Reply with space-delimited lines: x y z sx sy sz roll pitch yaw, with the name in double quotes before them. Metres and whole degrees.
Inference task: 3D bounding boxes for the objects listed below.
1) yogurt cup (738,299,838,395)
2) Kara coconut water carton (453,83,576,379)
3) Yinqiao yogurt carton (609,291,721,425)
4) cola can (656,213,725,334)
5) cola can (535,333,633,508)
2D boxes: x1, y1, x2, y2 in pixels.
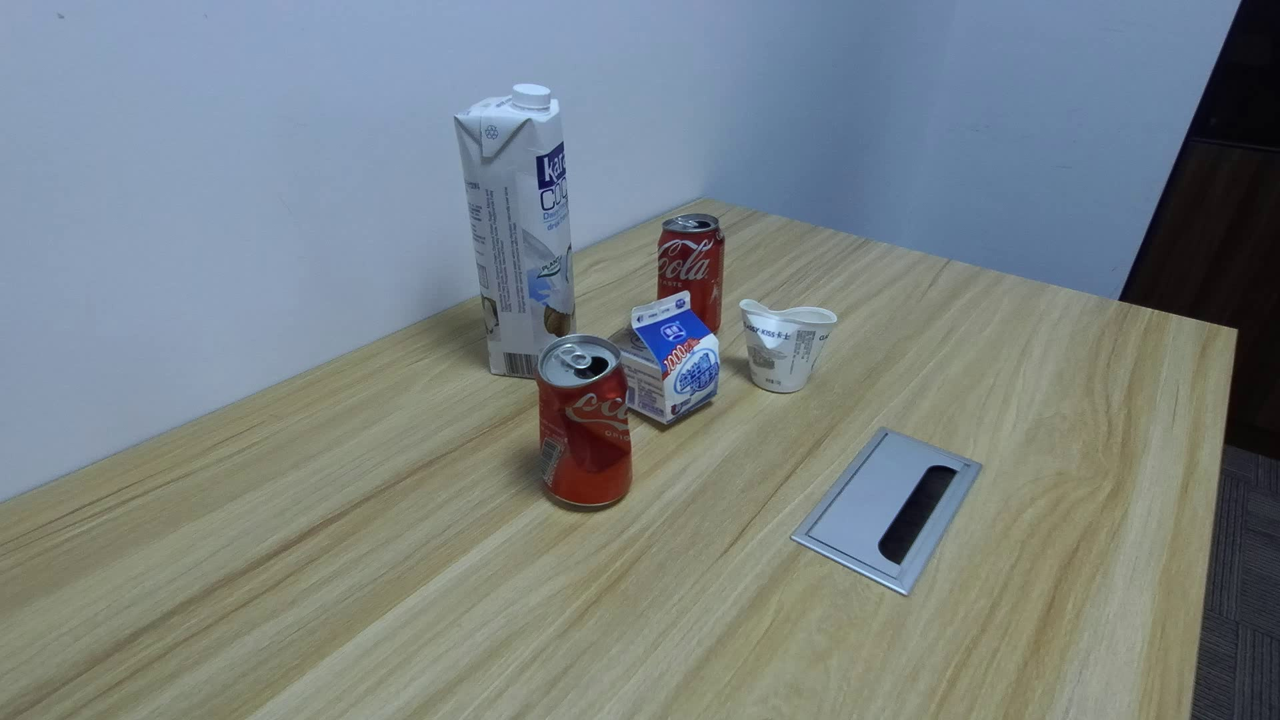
"yogurt cup" 0.126 -0.014 0.623 0.075 0.071 0.053 -4 31 -8
"Kara coconut water carton" -0.100 -0.103 0.602 0.075 0.245 0.077 6 32 12
"Yinqiao yogurt carton" 0.022 -0.007 0.585 0.075 0.097 0.080 -26 33 -37
"cola can" 0.049 -0.079 0.689 0.065 0.117 0.072 21 35 30
"cola can" -0.038 0.042 0.489 0.066 0.112 0.069 -5 32 -8
